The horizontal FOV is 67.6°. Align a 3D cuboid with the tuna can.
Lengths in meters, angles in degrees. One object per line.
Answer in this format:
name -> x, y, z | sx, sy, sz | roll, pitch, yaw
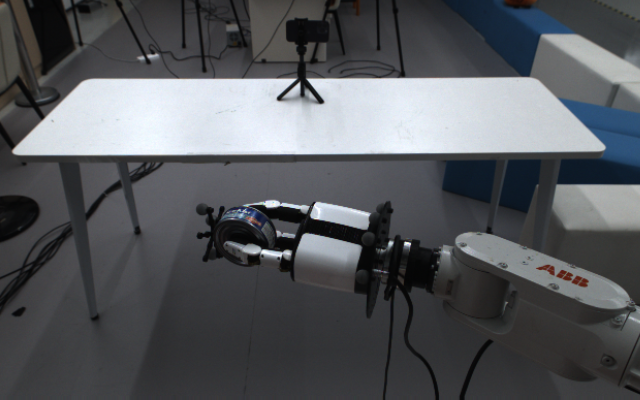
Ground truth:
tuna can -> -0.104, 0.051, 0.686 | 0.085, 0.085, 0.034 | 9, 34, 10
